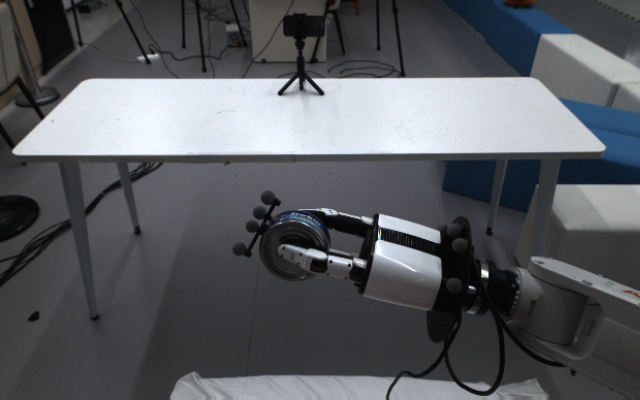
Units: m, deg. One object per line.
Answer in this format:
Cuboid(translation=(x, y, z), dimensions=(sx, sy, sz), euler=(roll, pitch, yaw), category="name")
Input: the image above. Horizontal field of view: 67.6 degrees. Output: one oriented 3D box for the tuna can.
Cuboid(translation=(-0.027, 0.061, 0.598), dimensions=(0.085, 0.085, 0.034), euler=(3, 21, 1), category="tuna can")
